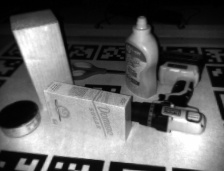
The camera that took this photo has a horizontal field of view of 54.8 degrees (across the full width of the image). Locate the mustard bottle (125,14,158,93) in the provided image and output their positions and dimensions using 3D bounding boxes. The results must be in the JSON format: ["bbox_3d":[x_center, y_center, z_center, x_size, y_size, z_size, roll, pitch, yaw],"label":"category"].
[{"bbox_3d":[0.068,-0.076,0.516,0.059,0.193,0.095,-27,47,-20],"label":"mustard bottle"}]

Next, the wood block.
[{"bbox_3d":[-0.154,-0.064,0.513,0.091,0.207,0.089,-18,44,-13],"label":"wood block"}]

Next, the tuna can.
[{"bbox_3d":[-0.205,0.061,0.489,0.085,0.034,0.085,-2,43,2],"label":"tuna can"}]

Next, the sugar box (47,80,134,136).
[{"bbox_3d":[-0.042,0.044,0.456,0.175,0.093,0.045,12,41,15],"label":"sugar box"}]

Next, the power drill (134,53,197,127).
[{"bbox_3d":[0.112,0.003,0.512,0.183,0.058,0.187,12,51,18],"label":"power drill"}]

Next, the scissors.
[{"bbox_3d":[-0.053,-0.063,0.632,0.202,0.016,0.087,4,38,9],"label":"scissors"}]
